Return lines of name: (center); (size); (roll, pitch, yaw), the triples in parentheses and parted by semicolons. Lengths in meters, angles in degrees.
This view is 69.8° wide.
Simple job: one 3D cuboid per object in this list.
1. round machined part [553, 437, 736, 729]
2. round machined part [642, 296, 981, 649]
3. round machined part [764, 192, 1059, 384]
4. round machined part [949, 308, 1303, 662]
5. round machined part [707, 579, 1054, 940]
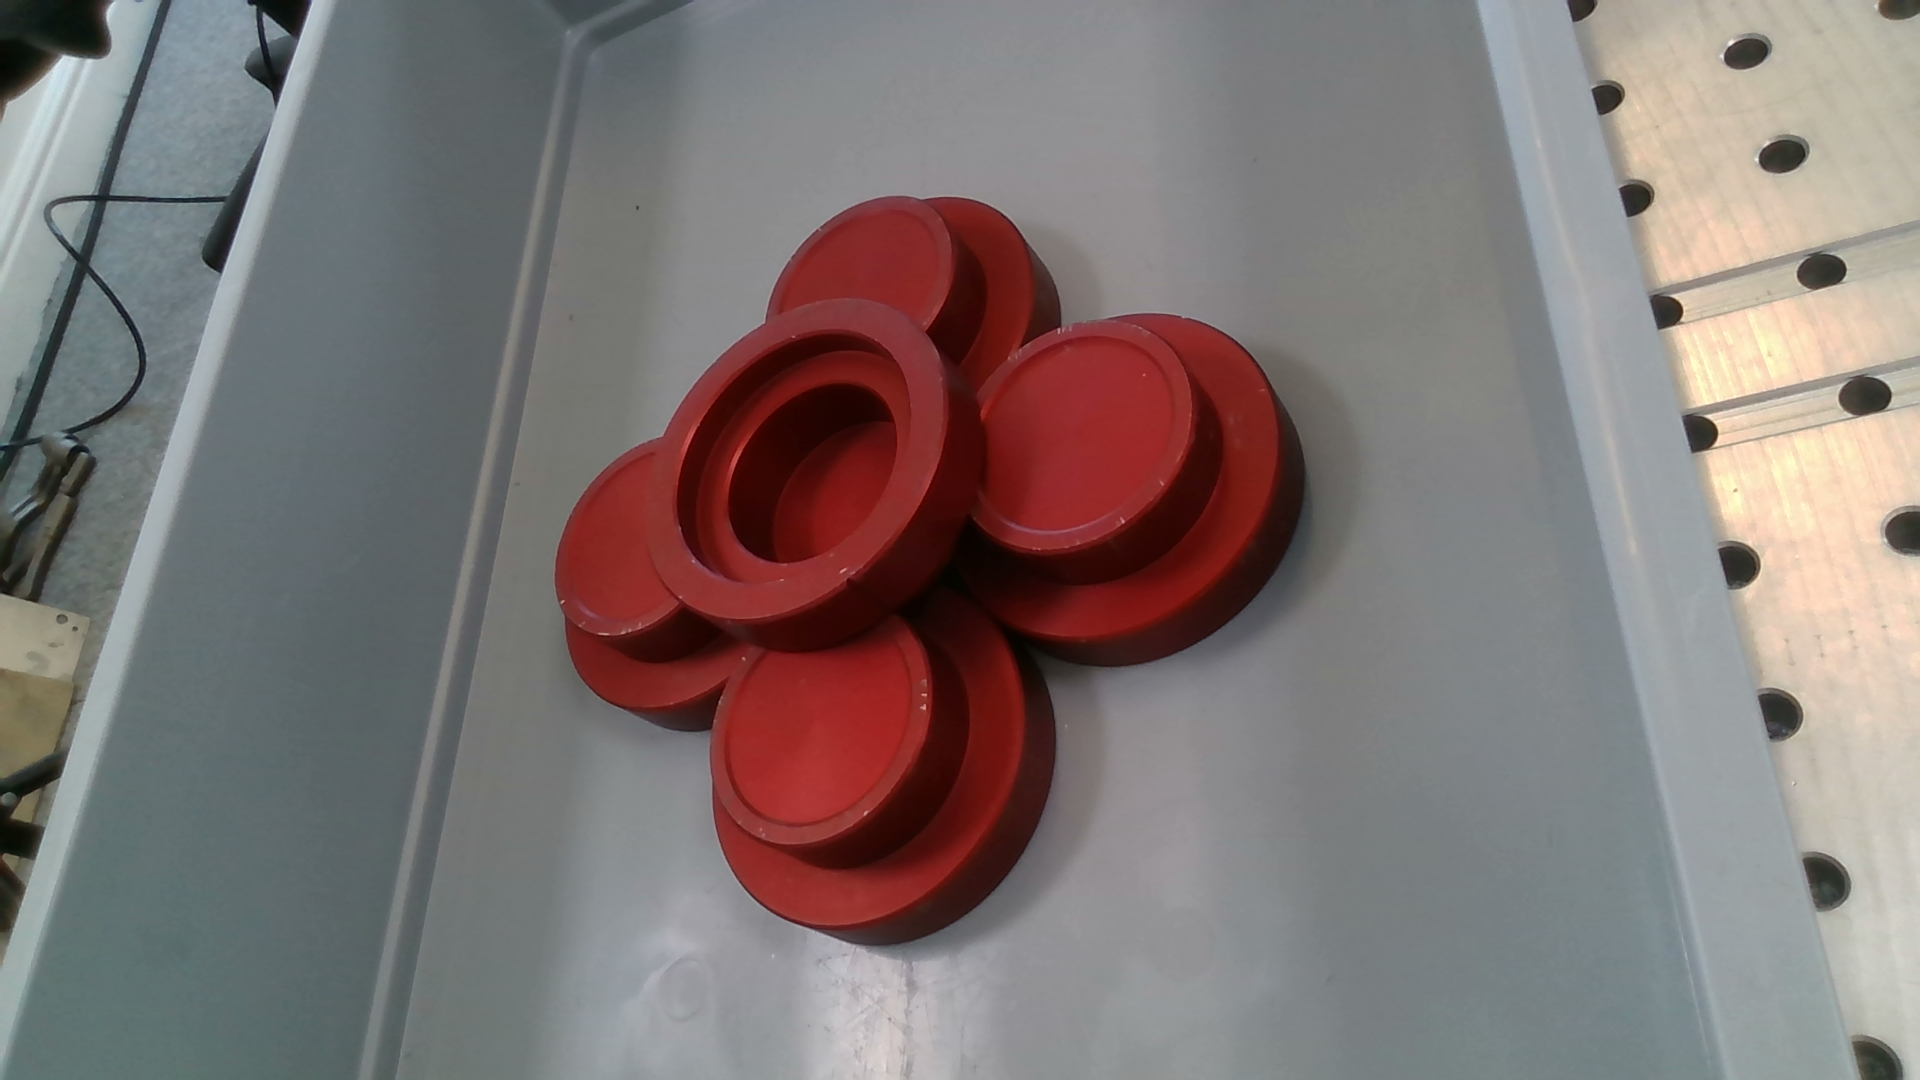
round machined part: (-0.087, 0.006, 0.430); (0.098, 0.042, 0.098); (-13, 61, 24)
round machined part: (-0.037, -0.015, 0.384); (0.098, 0.042, 0.098); (-14, 59, 25)
round machined part: (-0.022, -0.068, 0.429); (0.098, 0.042, 0.098); (-14, 59, 25)
round machined part: (0.037, -0.020, 0.367); (0.098, 0.042, 0.098); (-14, 59, 25)
round machined part: (-0.028, 0.054, 0.368); (0.098, 0.042, 0.098); (-14, 59, 25)
